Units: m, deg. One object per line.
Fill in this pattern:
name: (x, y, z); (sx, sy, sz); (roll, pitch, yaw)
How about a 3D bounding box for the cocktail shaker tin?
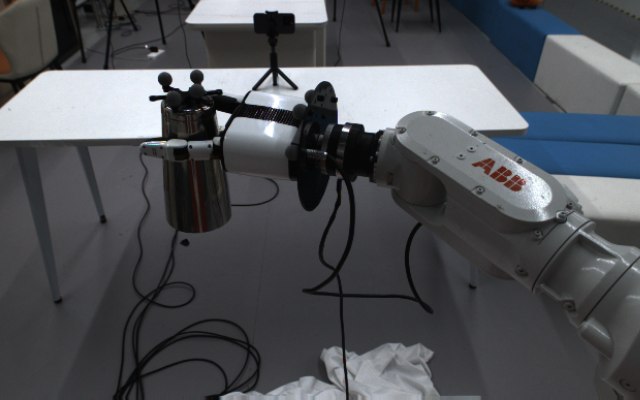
cocktail shaker tin: (-0.167, -0.054, 0.649); (0.093, 0.170, 0.093); (3, 33, -2)
